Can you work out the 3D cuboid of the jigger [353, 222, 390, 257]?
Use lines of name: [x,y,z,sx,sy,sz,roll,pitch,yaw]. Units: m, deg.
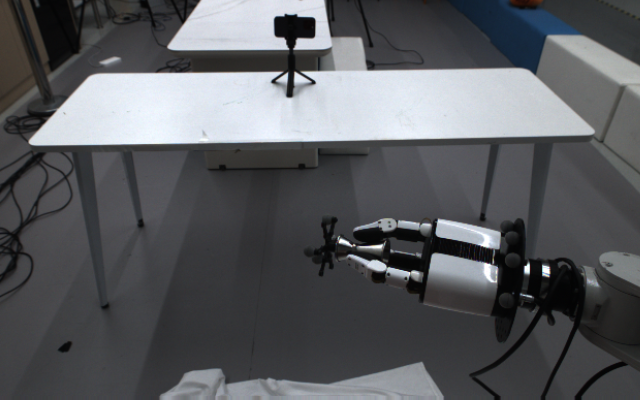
jigger: [0.066,0.064,0.668,0.071,0.043,0.043,5,34,21]
